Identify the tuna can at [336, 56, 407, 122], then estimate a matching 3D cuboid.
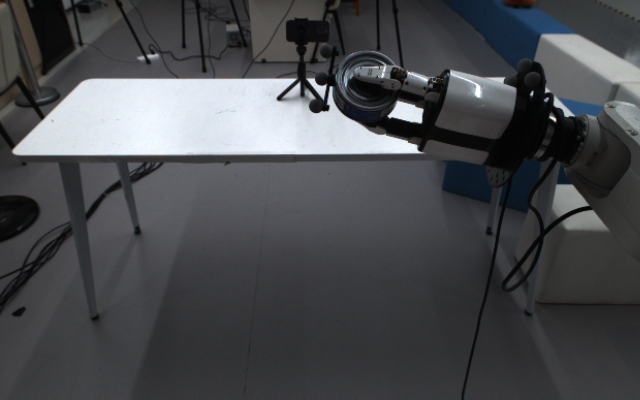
[{"bbox_3d":[0.062,-0.141,0.610,0.085,0.034,0.085,2,73,-5],"label":"tuna can"}]
